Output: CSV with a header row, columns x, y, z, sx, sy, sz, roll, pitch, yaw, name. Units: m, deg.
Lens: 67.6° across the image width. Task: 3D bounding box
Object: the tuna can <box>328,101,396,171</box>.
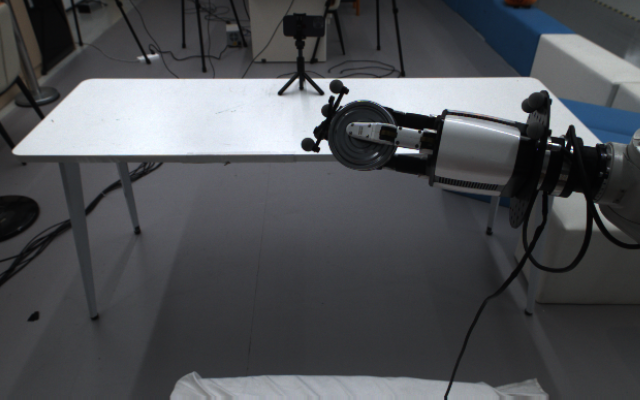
x,y,z,sx,sy,sz,roll,pitch,yaw,name
0.055,-0.081,0.600,0.085,0.085,0.034,8,5,9,tuna can
